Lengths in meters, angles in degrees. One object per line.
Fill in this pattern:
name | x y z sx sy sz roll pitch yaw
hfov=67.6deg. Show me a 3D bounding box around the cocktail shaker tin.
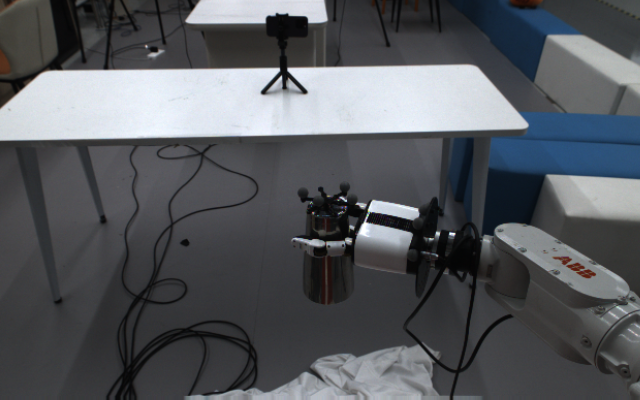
cocktail shaker tin | 0.016 0.078 0.816 0.093 0.170 0.093 -1 32 1
